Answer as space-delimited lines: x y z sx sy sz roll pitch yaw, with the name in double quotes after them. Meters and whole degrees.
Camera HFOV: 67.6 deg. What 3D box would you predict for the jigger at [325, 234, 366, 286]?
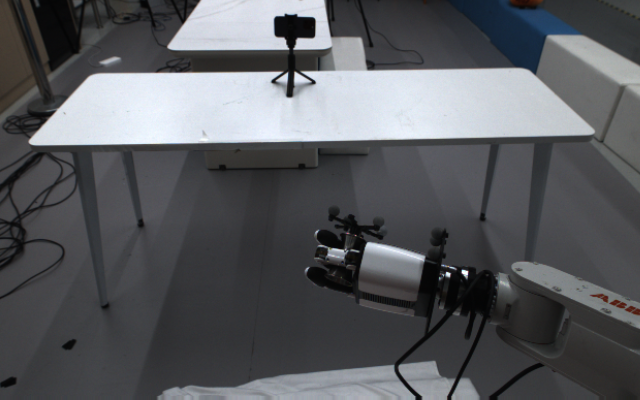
0.041 0.086 0.707 0.043 0.043 0.071 13 70 16 "jigger"
